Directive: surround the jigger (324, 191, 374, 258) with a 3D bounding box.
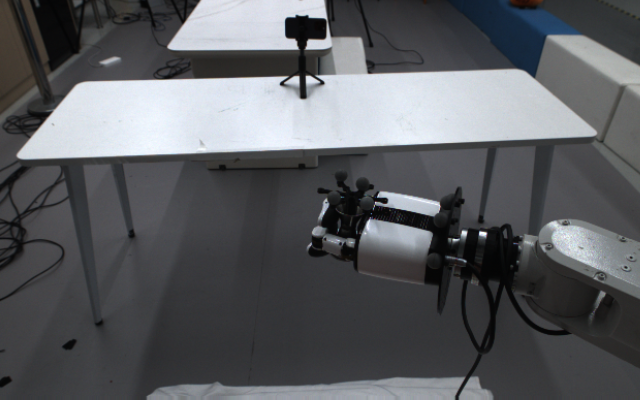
[{"bbox_3d":[0.037,0.040,0.633,0.043,0.071,0.043,6,26,-3],"label":"jigger"}]
